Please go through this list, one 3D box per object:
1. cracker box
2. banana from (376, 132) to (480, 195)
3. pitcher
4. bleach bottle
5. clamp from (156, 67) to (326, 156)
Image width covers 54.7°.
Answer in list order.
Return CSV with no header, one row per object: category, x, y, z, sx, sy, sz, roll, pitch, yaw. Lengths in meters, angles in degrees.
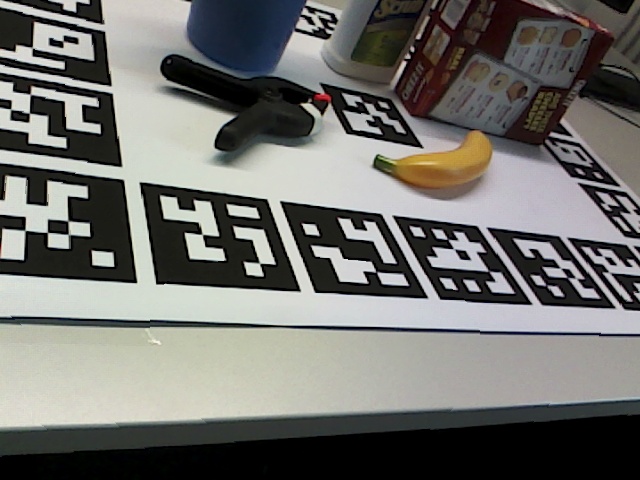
cracker box,0.229,-0.223,0.771,0.212,0.164,0.072,5,38,-26
banana,0.138,-0.086,0.686,0.074,0.039,0.196,38,37,17
pitcher,-0.064,-0.305,0.608,0.187,0.243,0.134,-10,48,-44
bleach bottle,0.081,-0.305,0.733,0.102,0.251,0.068,4,40,-28
clamp,-0.060,-0.124,0.595,0.164,0.036,0.122,-8,46,-41
